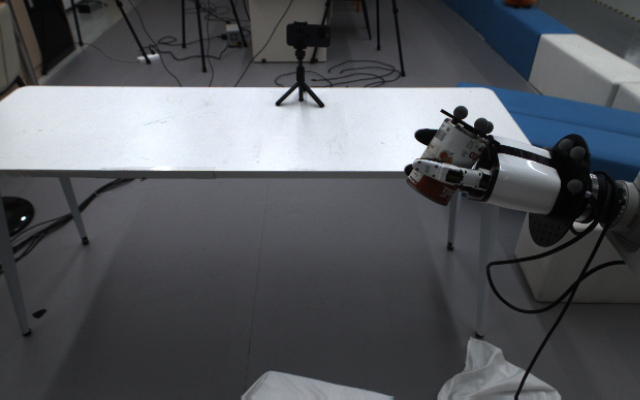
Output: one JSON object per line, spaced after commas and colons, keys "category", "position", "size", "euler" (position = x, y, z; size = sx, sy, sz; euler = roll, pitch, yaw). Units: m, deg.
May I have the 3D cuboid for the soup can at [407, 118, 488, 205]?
{"category": "soup can", "position": [0.174, -0.053, 0.664], "size": [0.067, 0.101, 0.067], "euler": [27, 18, -9]}
